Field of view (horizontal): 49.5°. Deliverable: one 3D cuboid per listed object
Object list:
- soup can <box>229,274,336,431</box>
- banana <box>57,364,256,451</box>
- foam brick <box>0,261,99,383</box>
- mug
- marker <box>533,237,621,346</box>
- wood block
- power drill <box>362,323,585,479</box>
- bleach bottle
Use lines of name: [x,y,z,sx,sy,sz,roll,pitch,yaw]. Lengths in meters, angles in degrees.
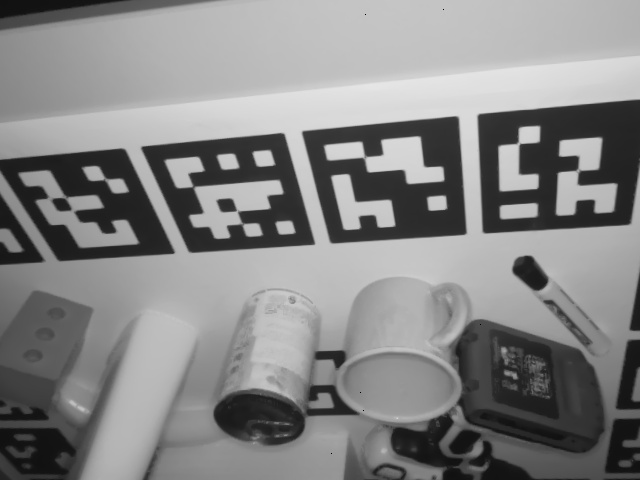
soup can: [-0.026,0.085,0.538,0.068,0.103,0.067,5,134,6]
banana: [-0.160,0.170,0.673,0.197,0.039,0.073,11,116,1]
foam brick: [-0.226,0.067,0.575,0.053,0.079,0.050,23,131,-14]
mug: [0.082,0.068,0.531,0.094,0.082,0.115,33,123,-16]
marker: [0.199,0.040,0.538,0.019,0.020,0.121,-29,119,25]
wood block: [-0.070,0.250,0.698,0.205,0.092,0.089,-3,128,10]
power drill: [0.151,0.167,0.628,0.185,0.058,0.184,22,130,-7]
bleach bottle: [-0.152,0.156,0.524,0.068,0.253,0.101,21,130,-9]
